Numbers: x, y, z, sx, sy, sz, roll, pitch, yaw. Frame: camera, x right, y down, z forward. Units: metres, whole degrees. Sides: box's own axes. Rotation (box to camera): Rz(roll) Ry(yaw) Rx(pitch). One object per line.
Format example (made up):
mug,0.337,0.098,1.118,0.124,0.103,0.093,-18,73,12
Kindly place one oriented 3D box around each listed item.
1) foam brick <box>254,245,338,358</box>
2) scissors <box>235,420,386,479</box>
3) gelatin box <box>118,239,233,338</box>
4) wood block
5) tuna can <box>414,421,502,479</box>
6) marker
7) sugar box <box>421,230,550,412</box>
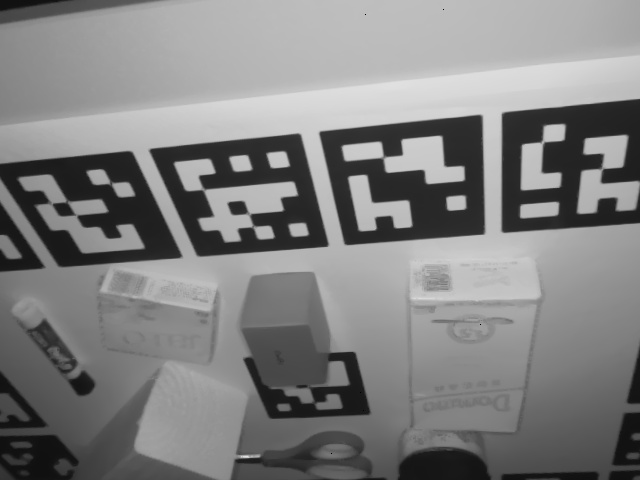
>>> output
foam brick,-0.017,0.050,0.554,0.052,0.052,0.077,-4,127,8
scissors,-0.033,0.218,0.717,0.203,0.016,0.087,0,128,2
gelatin box,-0.120,0.042,0.575,0.089,0.030,0.072,9,128,-3
wood block,-0.162,0.200,0.669,0.090,0.092,0.203,30,126,-18
tuna can,0.135,0.204,0.678,0.086,0.034,0.085,2,128,3
marker,-0.220,0.080,0.618,0.019,0.020,0.120,-4,126,8
sugar box,0.131,0.072,0.572,0.092,0.046,0.175,-1,128,7
